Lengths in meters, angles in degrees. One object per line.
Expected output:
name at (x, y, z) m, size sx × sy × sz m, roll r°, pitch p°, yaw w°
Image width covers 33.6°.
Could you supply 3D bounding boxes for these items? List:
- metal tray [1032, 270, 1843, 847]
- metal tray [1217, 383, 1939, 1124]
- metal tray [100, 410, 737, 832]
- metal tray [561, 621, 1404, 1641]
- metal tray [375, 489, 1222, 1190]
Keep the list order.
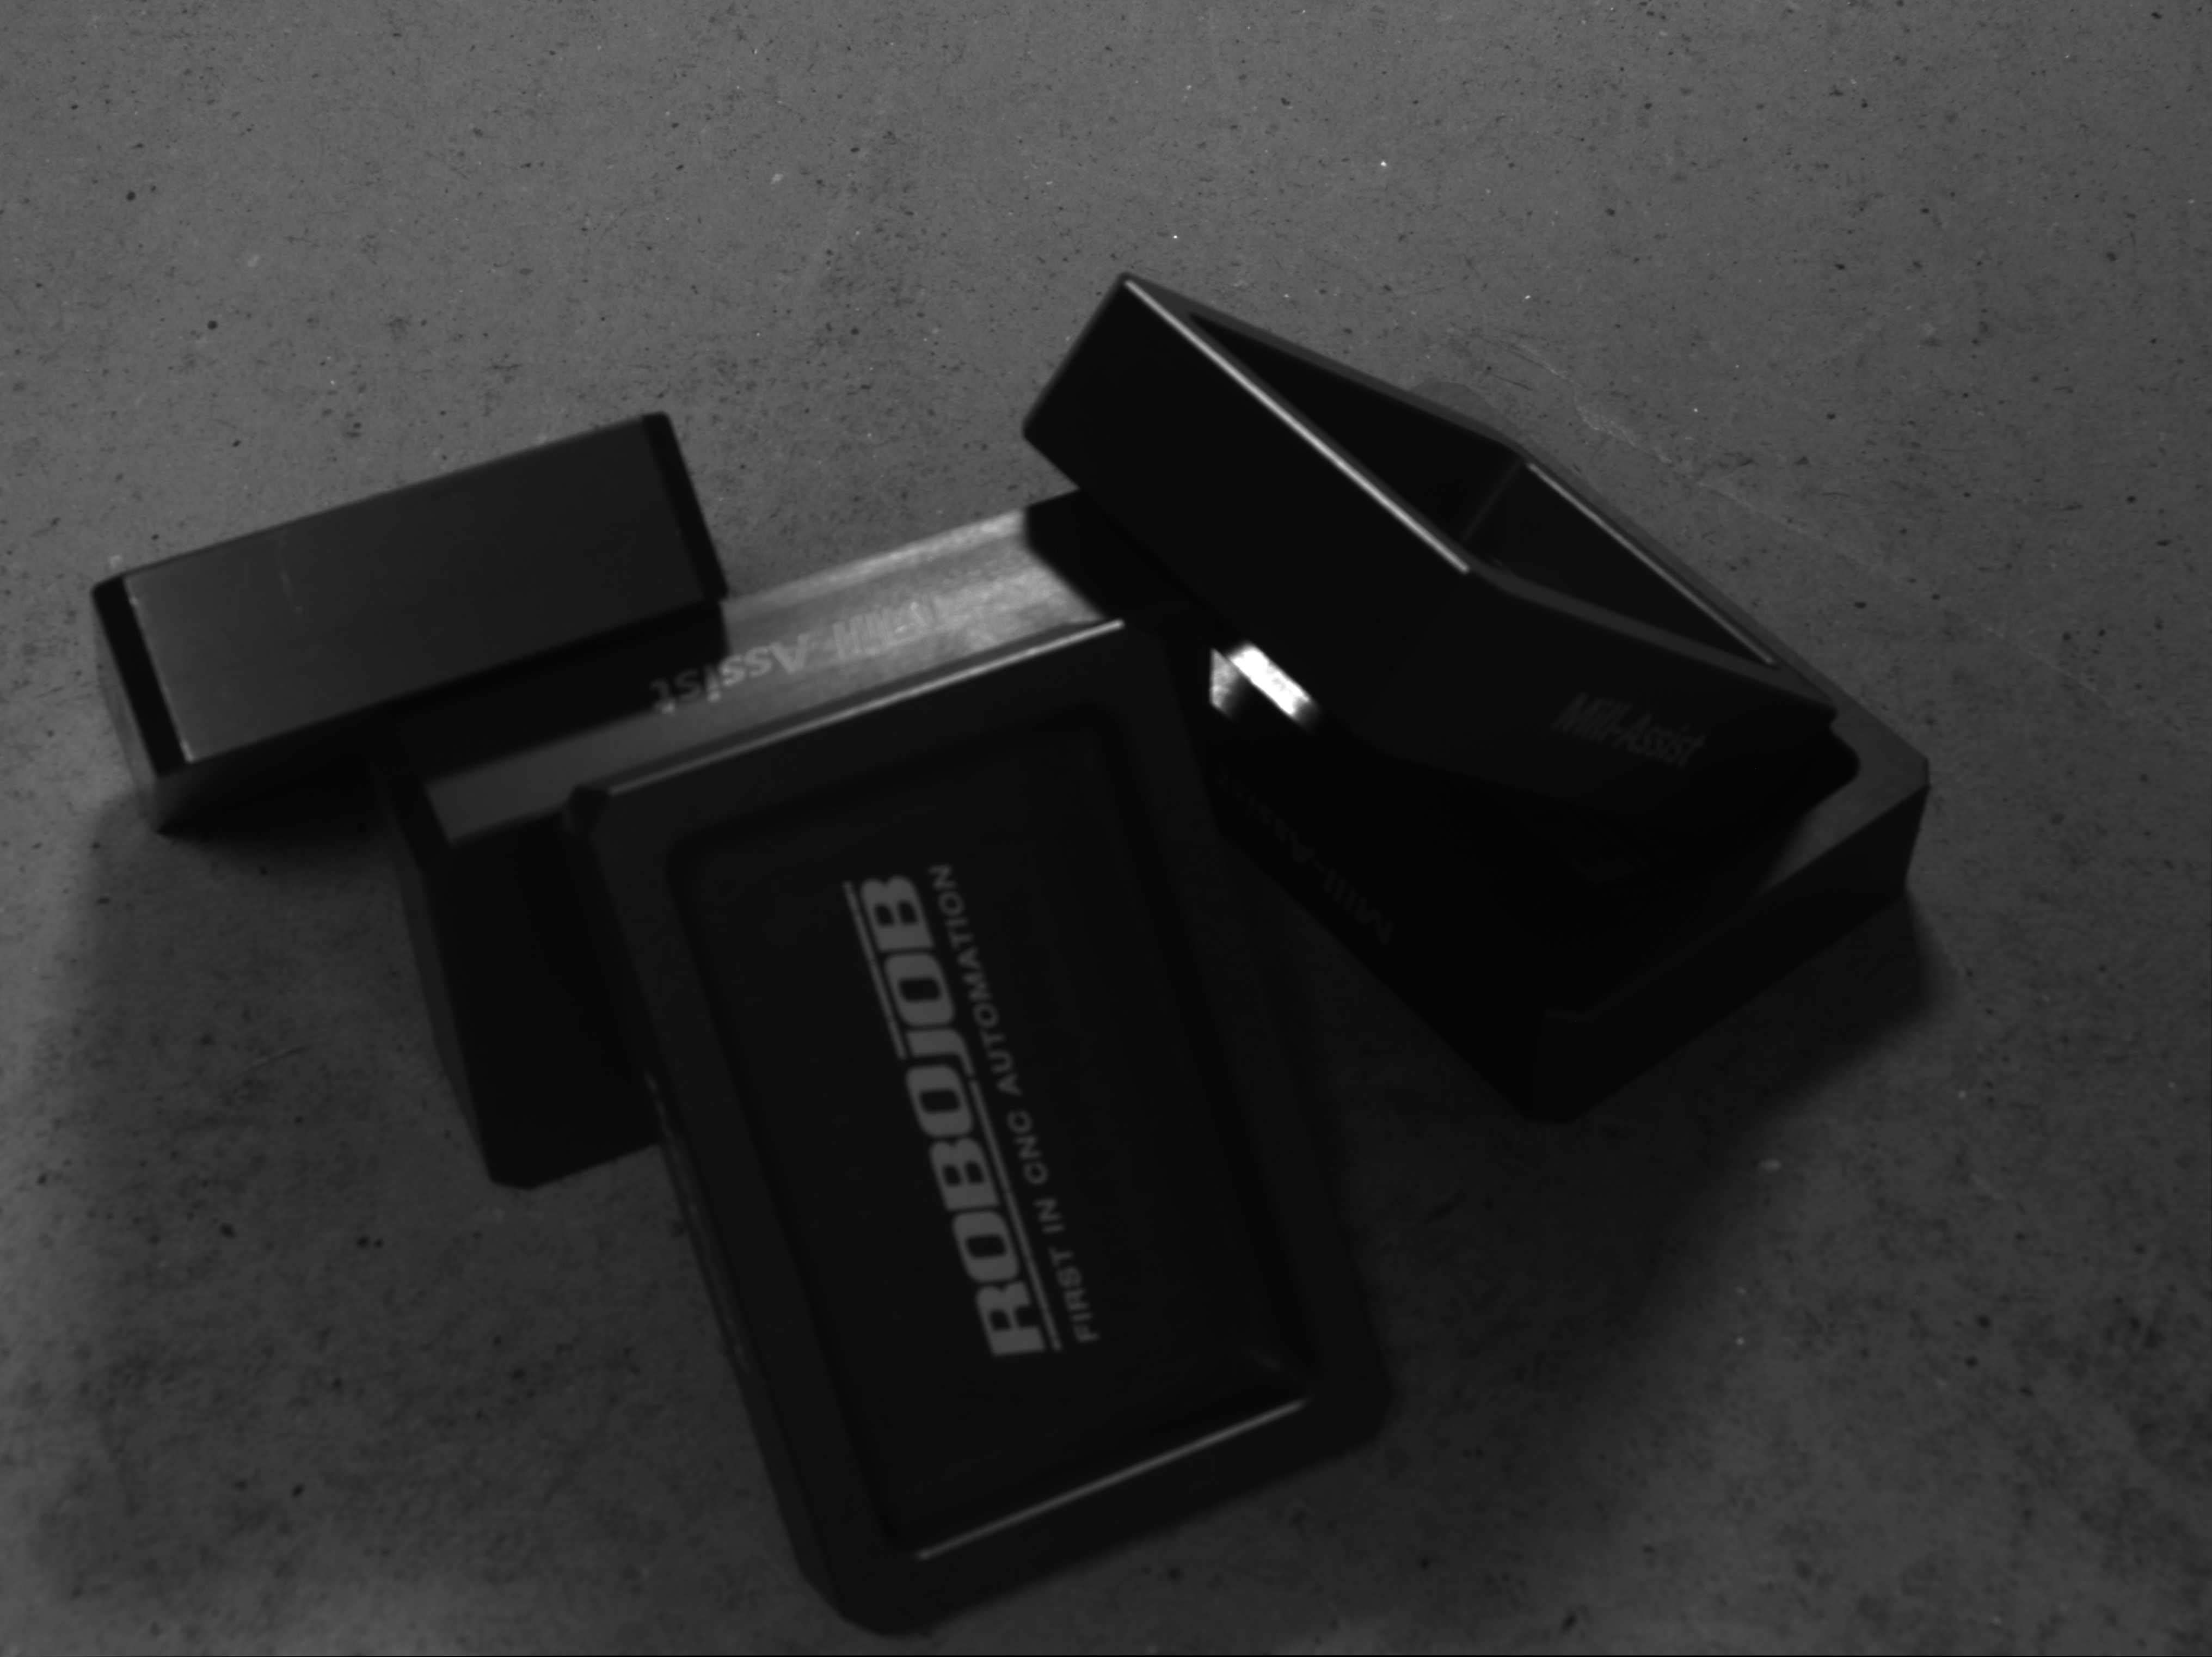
metal tray at (0.057, -0.042, 0.605) m, size 0.090 × 0.030 × 0.130 m, roll 45°, pitch 18°, yaw 30°
metal tray at (0.071, -0.017, 0.654) m, size 0.090 × 0.030 × 0.130 m, roll -31°, pitch 56°, yaw -24°
metal tray at (-0.117, -0.032, 0.607) m, size 0.090 × 0.130 × 0.030 m, roll -19°, pitch 91°, yaw -15°
metal tray at (-0.018, 0.043, 0.548) m, size 0.090 × 0.030 × 0.130 m, roll -19°, pitch 97°, yaw -15°
metal tray at (-0.046, 0.002, 0.598) m, size 0.130 × 0.090 × 0.030 m, roll -20°, pitch 52°, yaw -16°
